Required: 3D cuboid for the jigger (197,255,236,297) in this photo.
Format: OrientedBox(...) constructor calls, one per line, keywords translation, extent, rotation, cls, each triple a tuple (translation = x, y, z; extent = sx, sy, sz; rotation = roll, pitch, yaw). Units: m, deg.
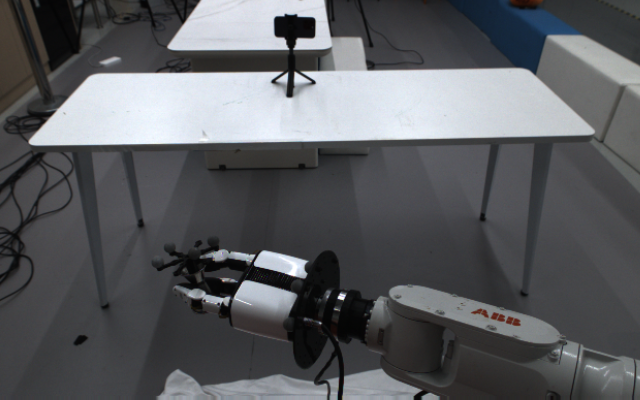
OrientedBox(translation=(-0.175, 0.127, 0.711), extent=(0.043, 0.071, 0.043), rotation=(-12, 25, 5), cls="jigger")
